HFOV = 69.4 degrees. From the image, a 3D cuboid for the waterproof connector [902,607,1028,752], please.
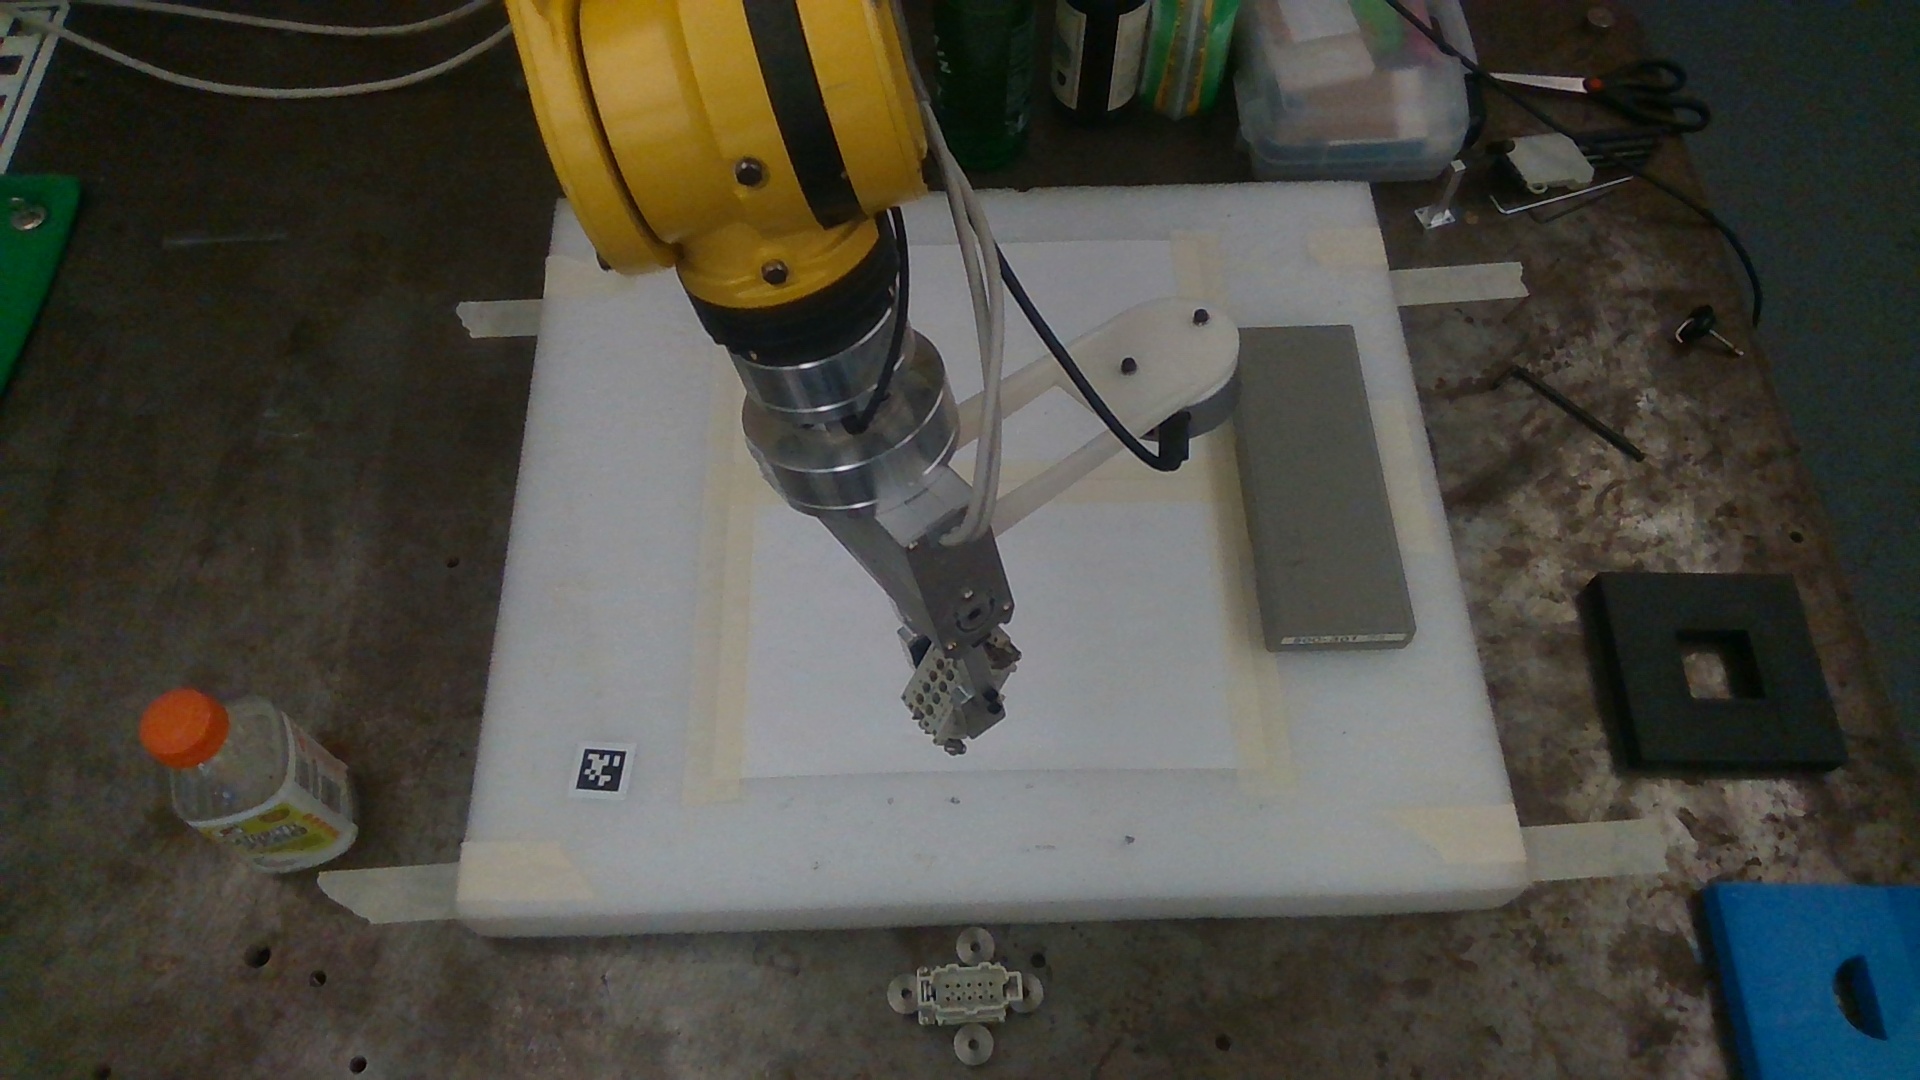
[{"bbox_3d":[0.004,0.069,0.676,0.037,0.038,0.069,42,103,34],"label":"waterproof connector"}]
